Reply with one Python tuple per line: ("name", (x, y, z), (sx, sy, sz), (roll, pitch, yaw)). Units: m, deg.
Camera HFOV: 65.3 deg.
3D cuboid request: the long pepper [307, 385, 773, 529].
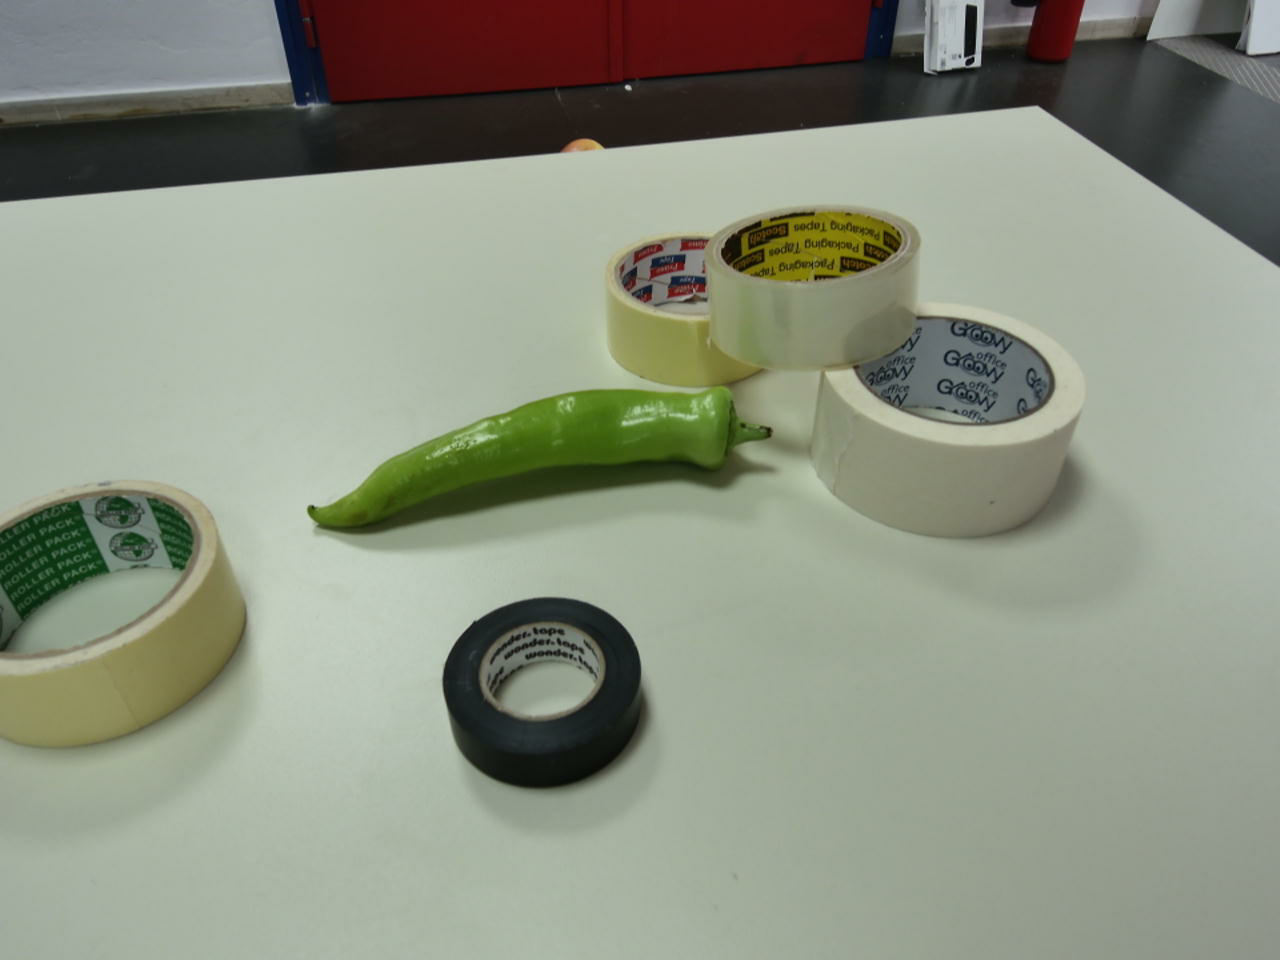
("long pepper", (-0.042, -0.015, 0.427), (0.197, 0.038, 0.046), (-7, 39, -9))
